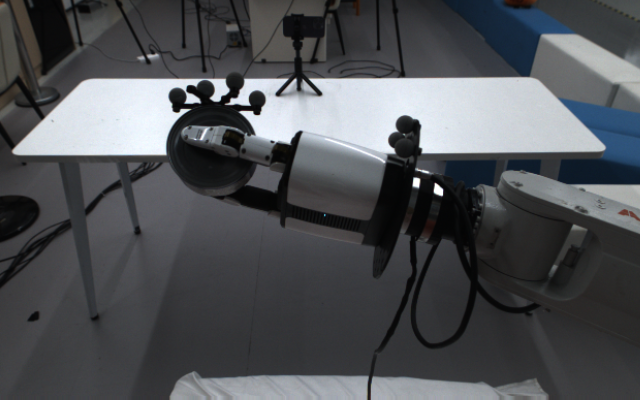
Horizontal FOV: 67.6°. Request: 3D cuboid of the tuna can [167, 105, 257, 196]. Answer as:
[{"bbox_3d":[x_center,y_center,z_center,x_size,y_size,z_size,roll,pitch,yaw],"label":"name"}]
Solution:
[{"bbox_3d":[-0.101,-0.043,0.474,0.085,0.034,0.085,1,74,-5],"label":"tuna can"}]
